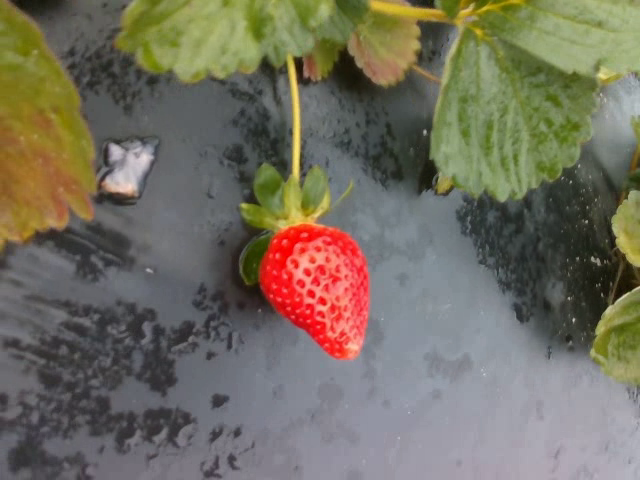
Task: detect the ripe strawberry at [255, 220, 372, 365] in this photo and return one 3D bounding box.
[{"bbox_3d":[0.001,0.018,0.217,0.045,0.054,0.048,-5,-21,-16],"label":"ripe strawberry"}]
